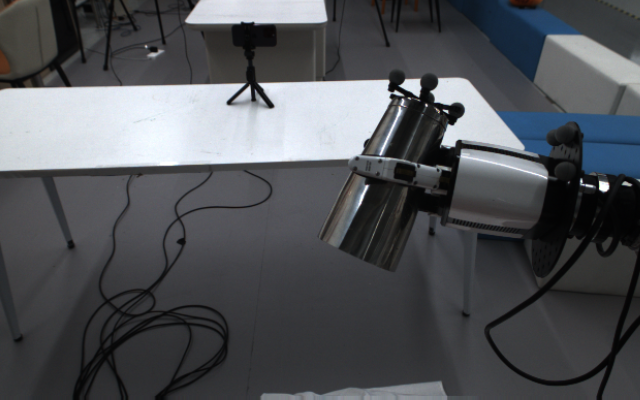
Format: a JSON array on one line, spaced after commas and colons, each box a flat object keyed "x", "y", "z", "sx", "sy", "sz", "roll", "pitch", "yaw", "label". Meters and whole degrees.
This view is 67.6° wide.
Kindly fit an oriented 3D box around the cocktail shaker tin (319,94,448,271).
[{"x": 0.076, "y": -0.021, "z": 0.521, "sx": 0.093, "sy": 0.170, "sz": 0.093, "roll": 23, "pitch": 0, "yaw": 0, "label": "cocktail shaker tin"}]
